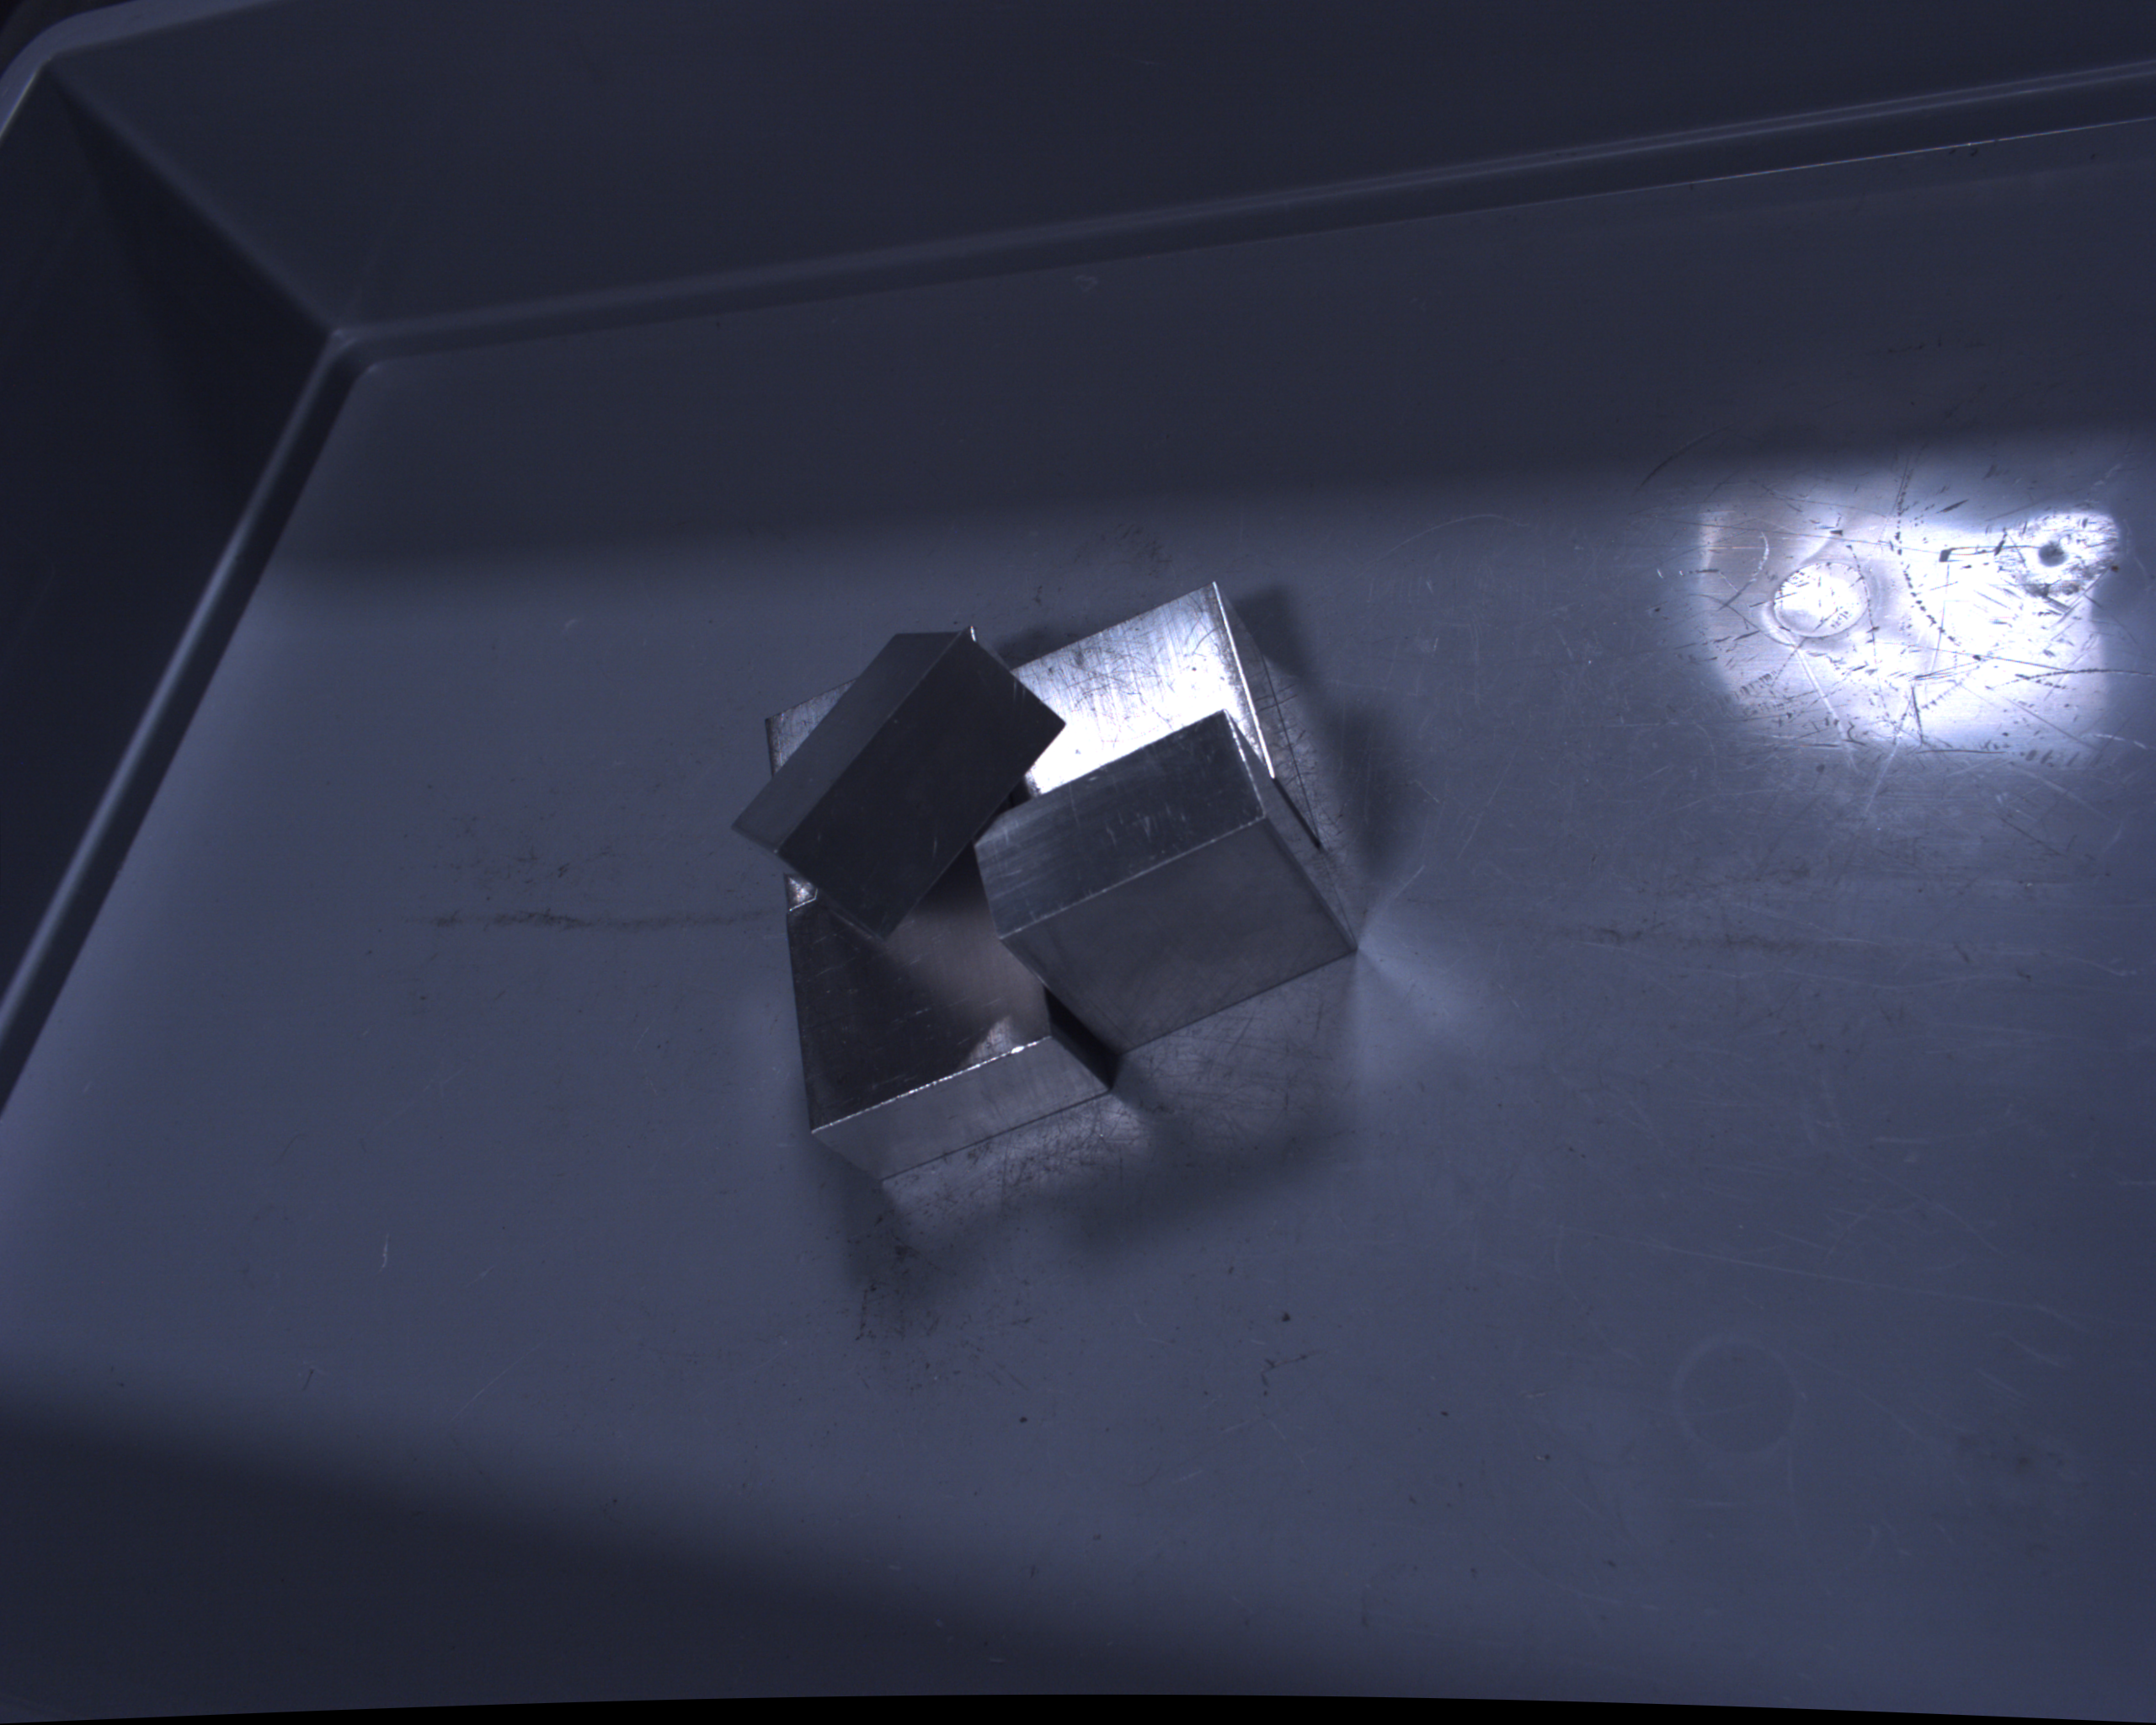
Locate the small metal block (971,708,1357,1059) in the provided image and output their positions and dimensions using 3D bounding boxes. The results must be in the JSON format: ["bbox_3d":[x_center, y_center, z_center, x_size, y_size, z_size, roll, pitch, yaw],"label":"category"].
[{"bbox_3d":[0.016,0.005,0.375,0.050,0.050,0.025,-25,53,12],"label":"small metal block"}]

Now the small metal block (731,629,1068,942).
[{"bbox_3d":[-0.034,-0.016,0.382,0.050,0.025,0.050,-50,17,-8],"label":"small metal block"}]

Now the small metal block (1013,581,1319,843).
[{"bbox_3d":[0.014,-0.020,0.407,0.050,0.025,0.050,-22,54,14],"label":"small metal block"}]

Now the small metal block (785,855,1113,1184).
[{"bbox_3d":[-0.026,0.027,0.399,0.050,0.025,0.050,-22,54,14],"label":"small metal block"}]

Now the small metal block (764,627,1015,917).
[{"bbox_3d":[-0.034,-0.013,0.428,0.050,0.025,0.050,-22,54,14],"label":"small metal block"}]
